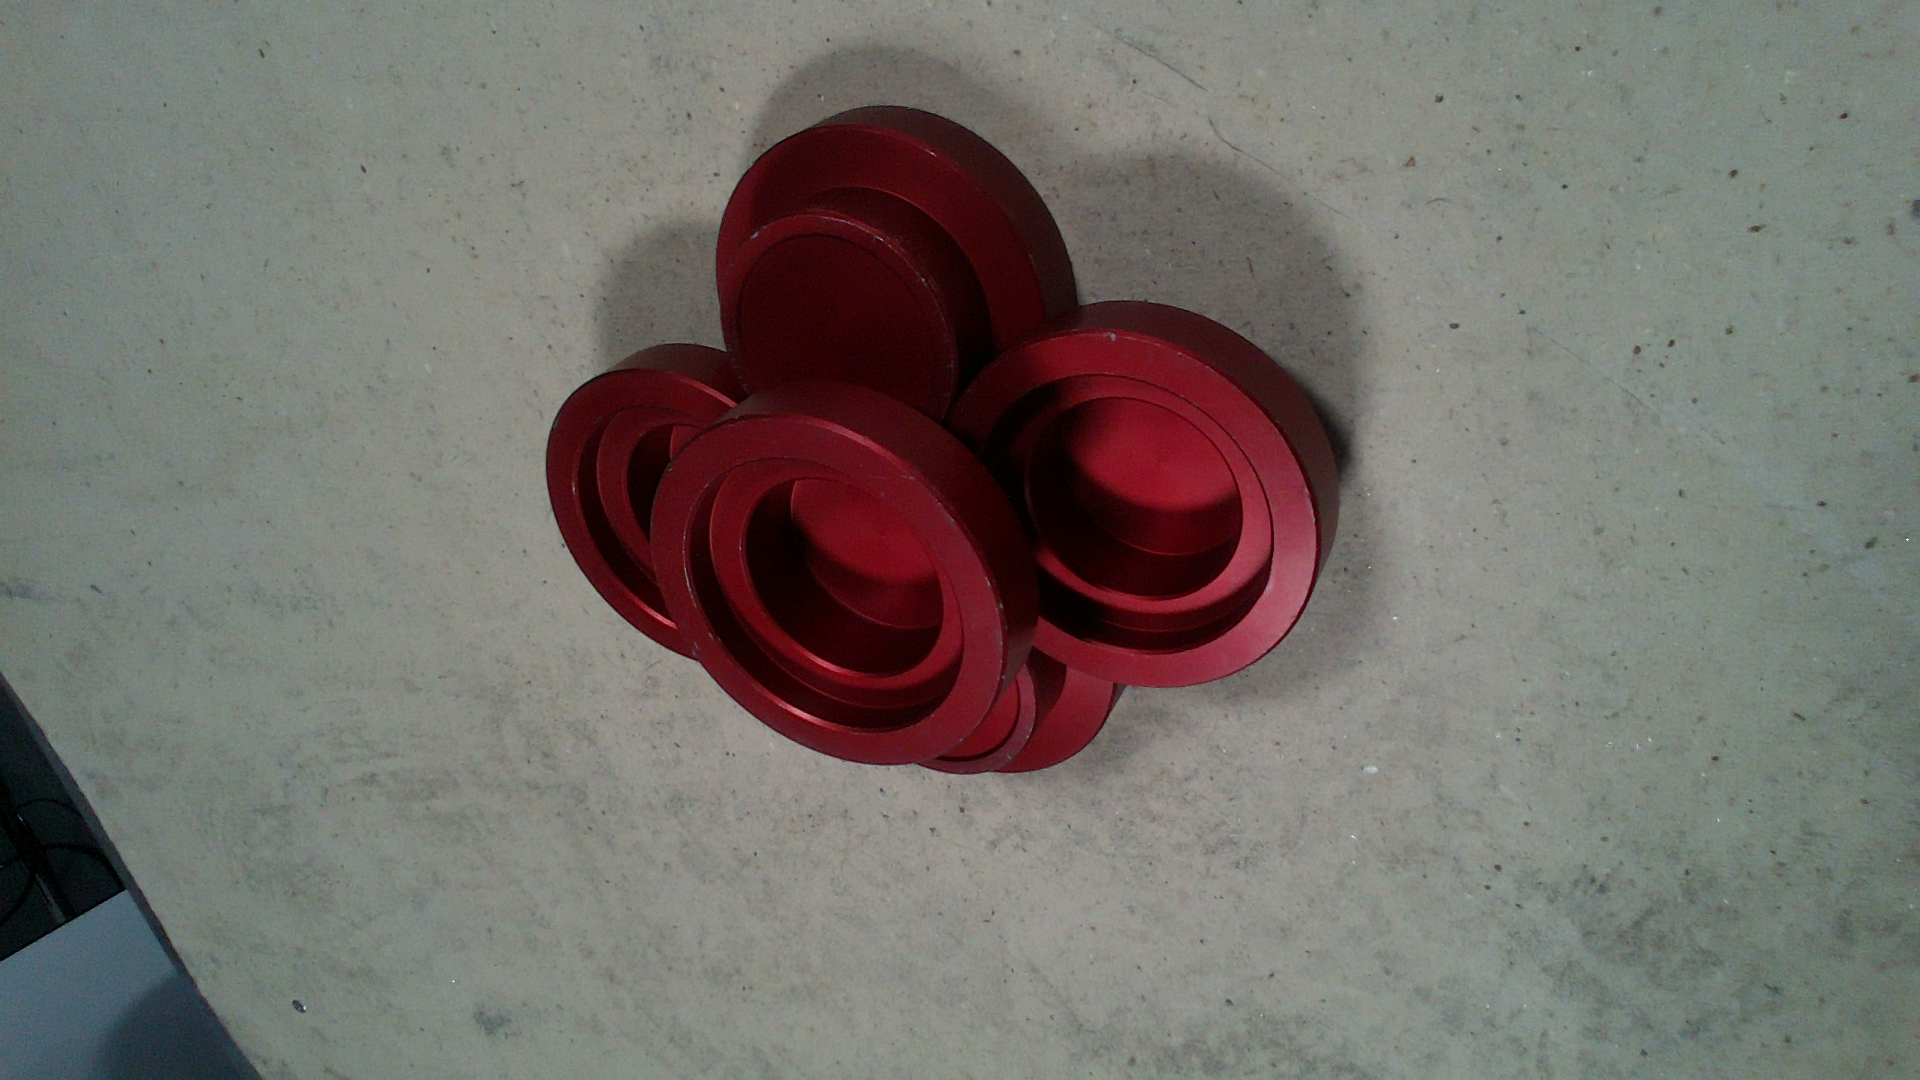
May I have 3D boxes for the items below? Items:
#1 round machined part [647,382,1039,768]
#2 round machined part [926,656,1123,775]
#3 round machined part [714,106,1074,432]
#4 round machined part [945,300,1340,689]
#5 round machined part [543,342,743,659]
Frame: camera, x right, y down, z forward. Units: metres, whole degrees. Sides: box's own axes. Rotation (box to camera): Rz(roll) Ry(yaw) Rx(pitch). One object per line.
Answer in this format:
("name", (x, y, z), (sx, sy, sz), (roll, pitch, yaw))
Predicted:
("round machined part", (-0.025, 0.005, 0.344), (0.098, 0.042, 0.098), (13, 125, 21))
("round machined part", (-0.001, 0.029, 0.400), (0.098, 0.042, 0.098), (13, 124, 21))
("round machined part", (-0.023, -0.058, 0.358), (0.098, 0.042, 0.098), (13, 124, 21))
("round machined part", (0.047, -0.014, 0.348), (0.098, 0.042, 0.098), (13, 124, 21))
("round machined part", (-0.072, -0.014, 0.412), (0.098, 0.042, 0.098), (13, 124, 21))
